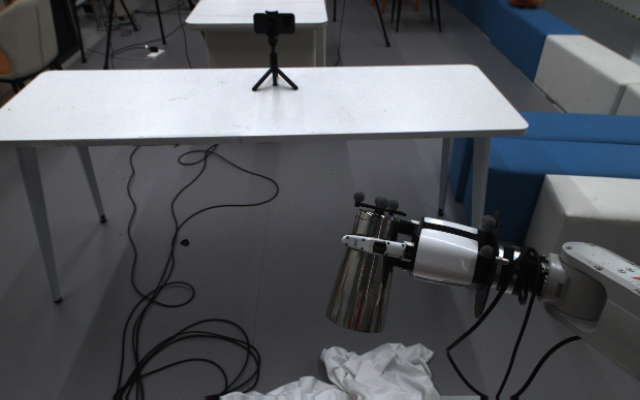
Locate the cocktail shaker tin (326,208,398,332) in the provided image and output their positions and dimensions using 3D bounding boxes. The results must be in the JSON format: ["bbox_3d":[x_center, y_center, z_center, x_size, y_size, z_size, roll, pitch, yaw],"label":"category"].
[{"bbox_3d":[0.073,0.102,0.742,0.093,0.170,0.093,13,3,-1],"label":"cocktail shaker tin"}]
